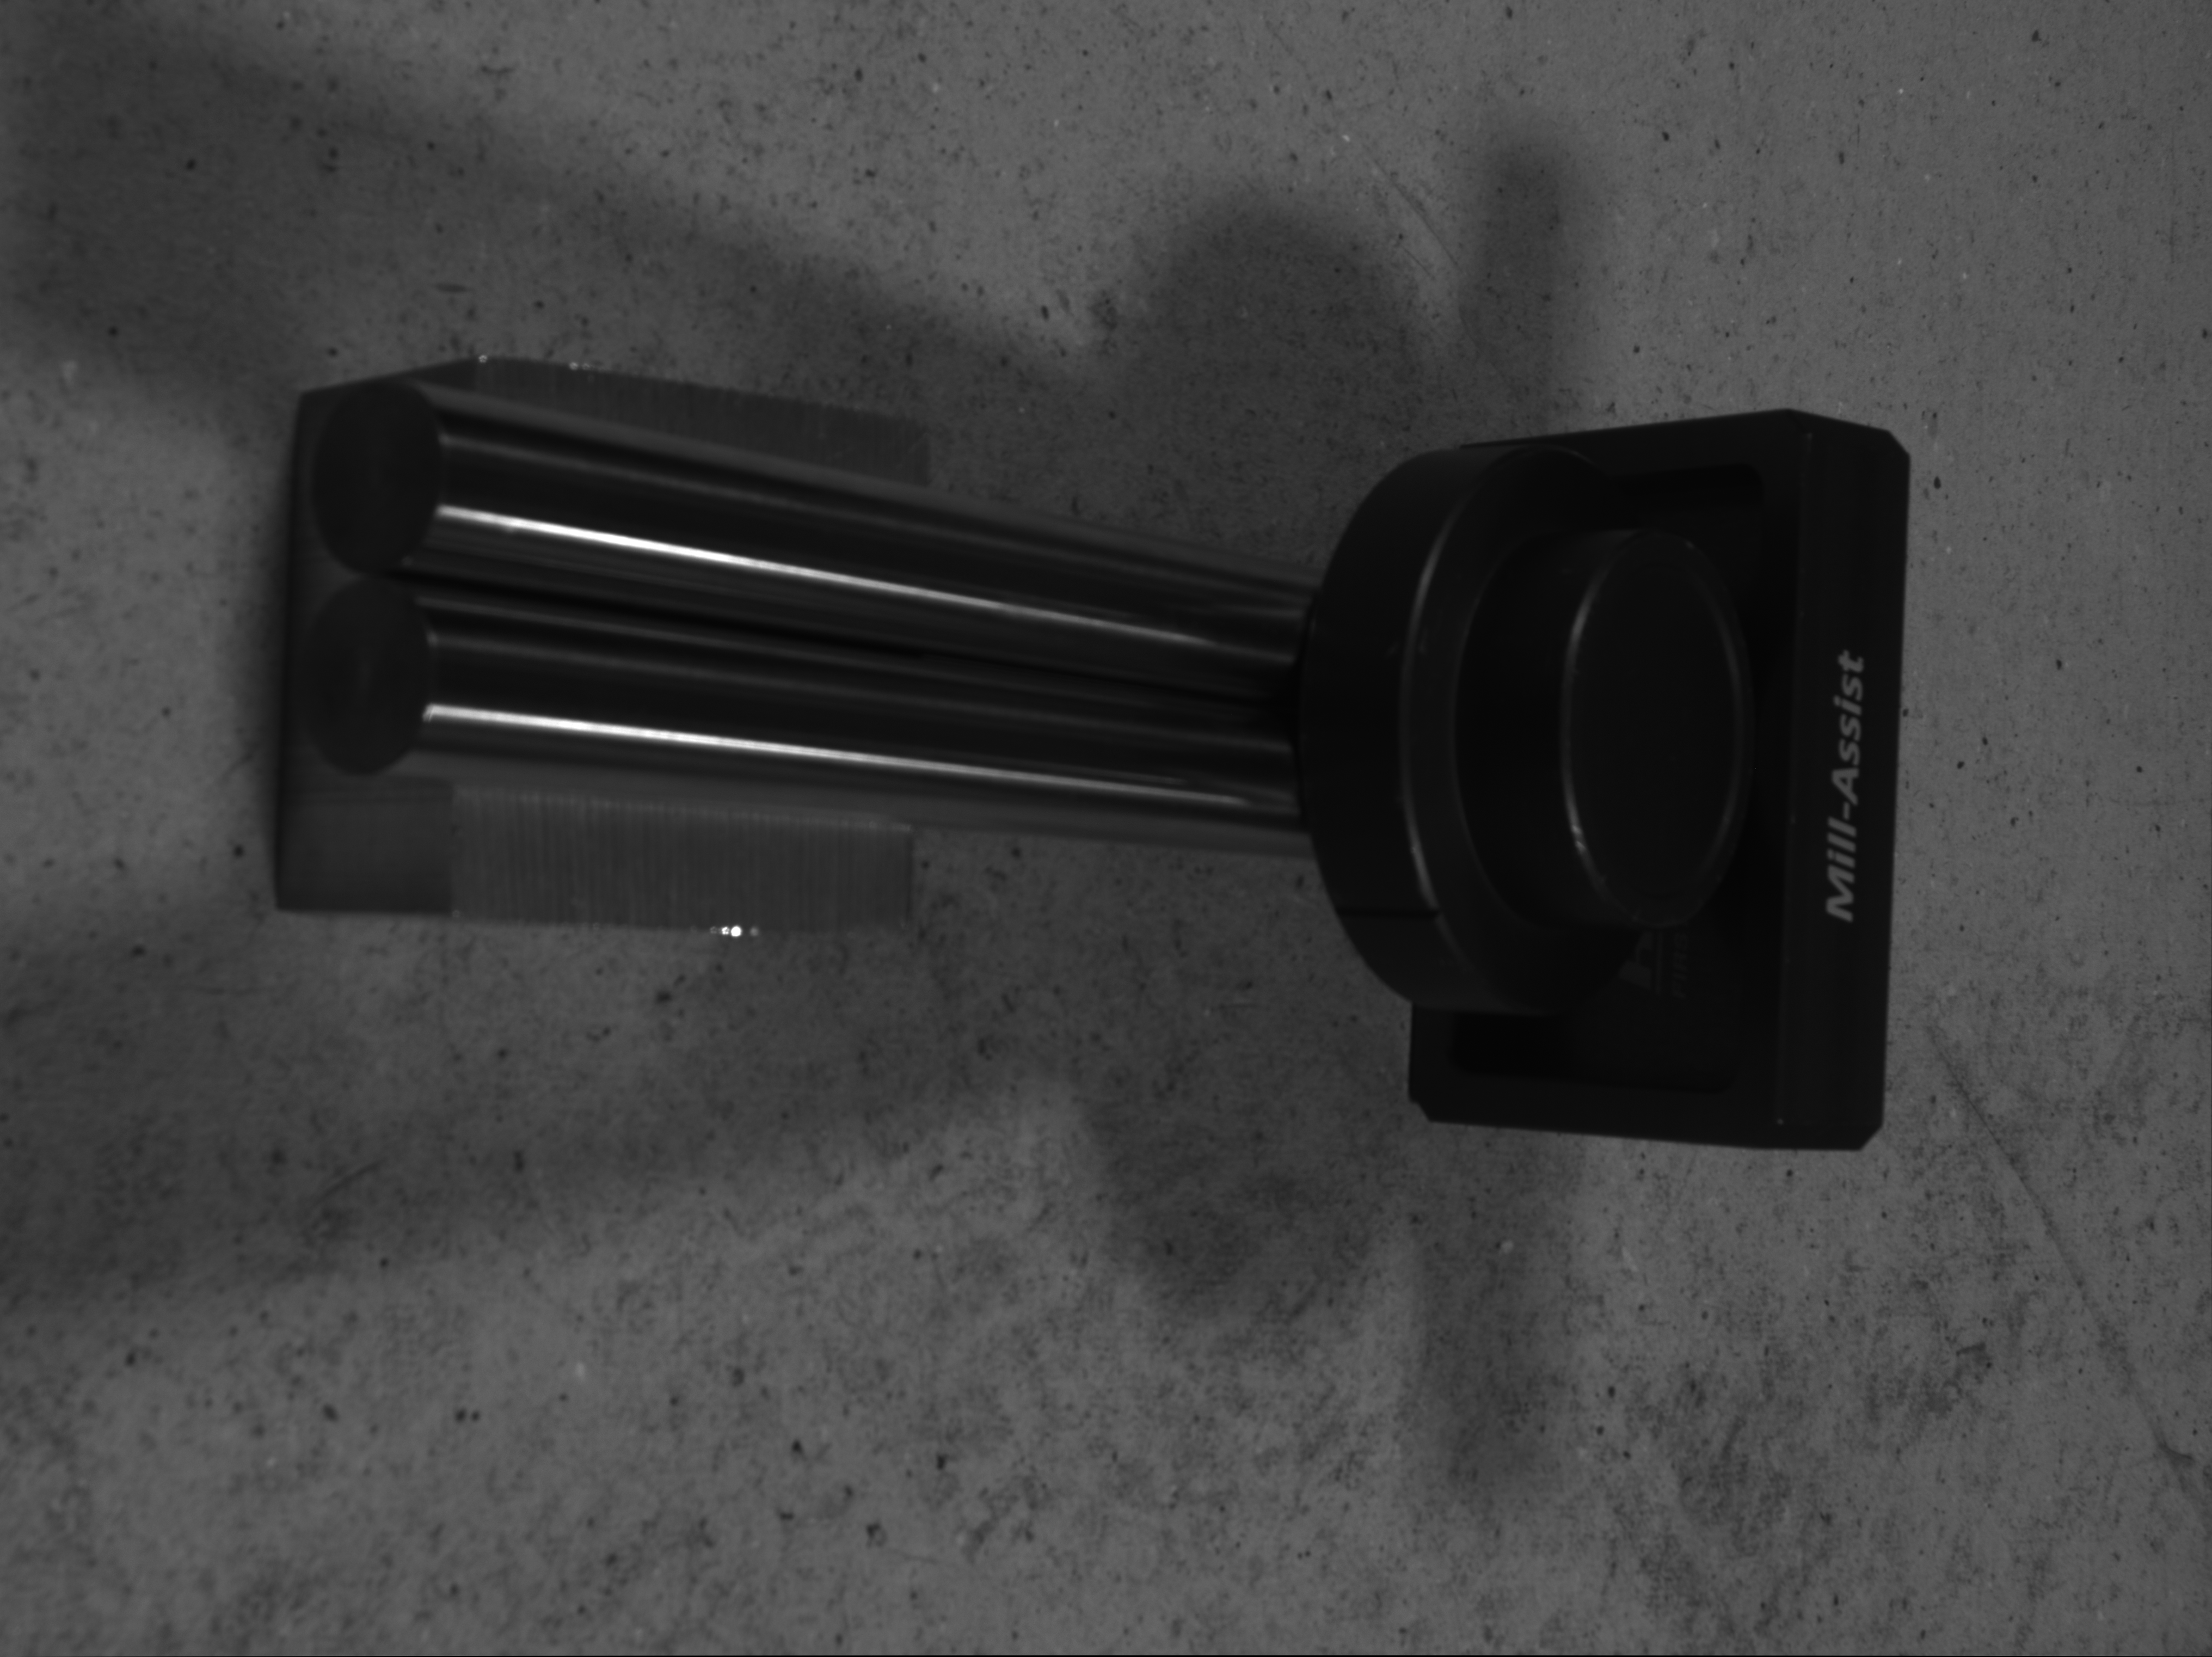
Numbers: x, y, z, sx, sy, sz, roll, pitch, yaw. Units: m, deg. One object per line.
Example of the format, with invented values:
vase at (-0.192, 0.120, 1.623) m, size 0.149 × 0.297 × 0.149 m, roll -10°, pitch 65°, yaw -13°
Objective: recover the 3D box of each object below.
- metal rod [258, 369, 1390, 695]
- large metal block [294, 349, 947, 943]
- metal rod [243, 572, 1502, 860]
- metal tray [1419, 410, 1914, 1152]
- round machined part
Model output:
metal rod at (-0.006, -0.038, 0.574) m, size 0.301 × 0.025 × 0.025 m, roll 4°, pitch 87°, yaw -52°
large metal block at (-0.073, -0.025, 0.556) m, size 0.080 × 0.050 × 0.080 m, roll 4°, pitch 87°, yaw -40°
metal rod at (-0.007, -0.011, 0.573) m, size 0.301 × 0.025 × 0.025 m, roll 5°, pitch 86°, yaw -52°
metal tray at (0.103, -0.008, 0.680) m, size 0.030 × 0.090 × 0.130 m, roll 5°, pitch 87°, yaw -40°
round machined part at (0.078, -0.017, 0.628) m, size 0.098 × 0.042 × 0.098 m, roll -4°, pitch 95°, yaw -50°
